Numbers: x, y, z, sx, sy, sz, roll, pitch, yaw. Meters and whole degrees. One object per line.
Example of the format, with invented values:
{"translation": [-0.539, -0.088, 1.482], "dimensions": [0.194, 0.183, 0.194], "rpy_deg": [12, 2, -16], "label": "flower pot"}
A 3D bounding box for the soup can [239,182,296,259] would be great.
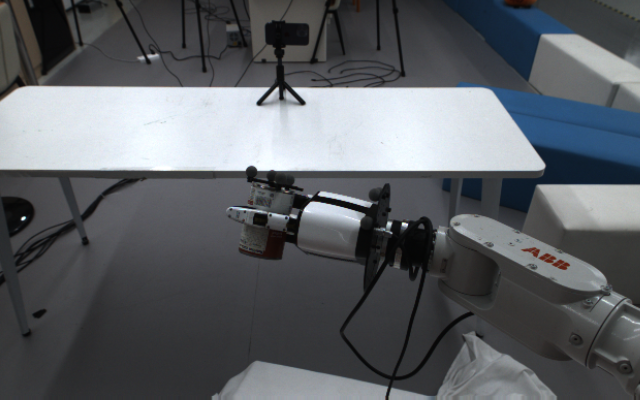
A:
{"translation": [-0.077, 0.031, 0.711], "dimensions": [0.067, 0.101, 0.067], "rpy_deg": [12, 2, 0], "label": "soup can"}
